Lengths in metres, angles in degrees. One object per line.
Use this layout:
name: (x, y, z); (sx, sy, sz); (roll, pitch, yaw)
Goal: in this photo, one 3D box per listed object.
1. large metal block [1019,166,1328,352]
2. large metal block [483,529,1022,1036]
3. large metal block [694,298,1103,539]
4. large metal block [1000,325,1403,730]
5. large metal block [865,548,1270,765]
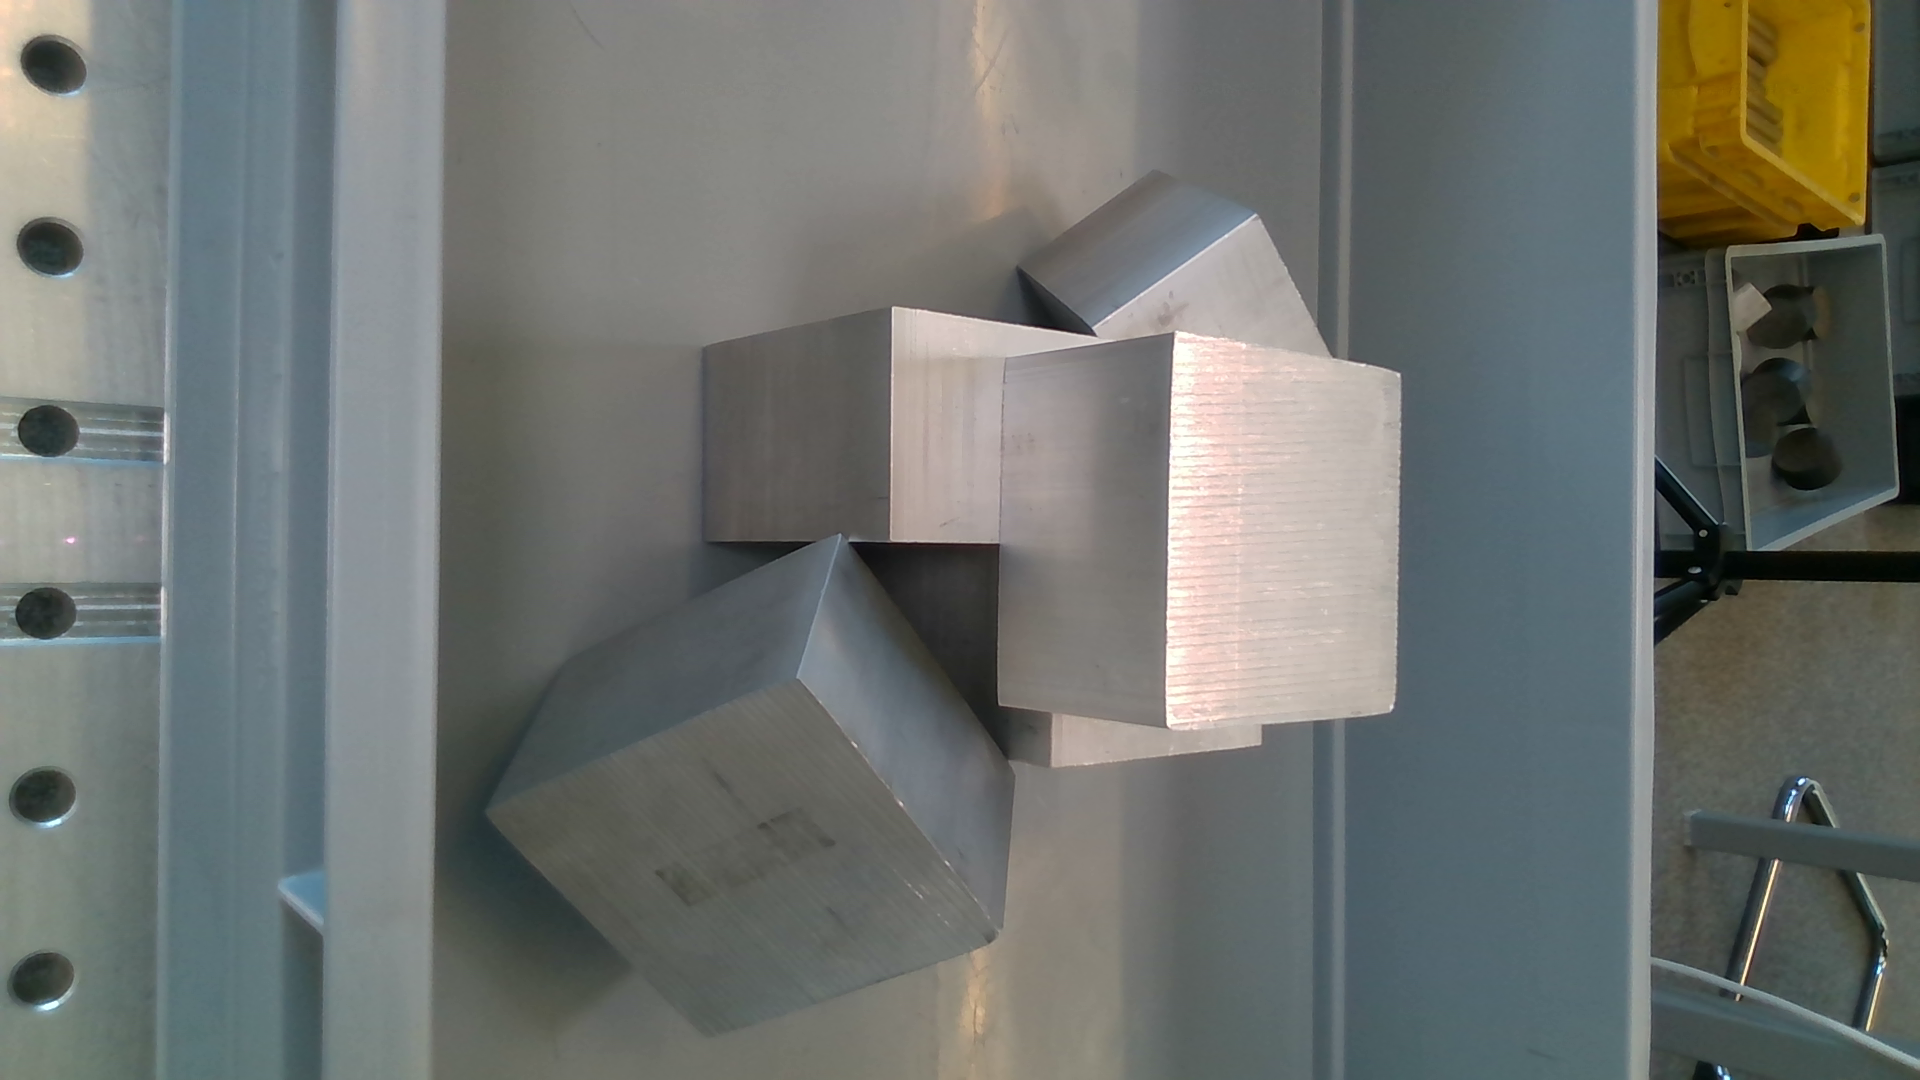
large metal block: (0.067, -0.055, 0.401); (0.050, 0.080, 0.080); (-34, 116, 3)
large metal block: (-0.042, 0.056, 0.309); (0.080, 0.080, 0.050); (56, 23, -25)
large metal block: (-0.011, -0.025, 0.345); (0.080, 0.080, 0.050); (1, 89, -41)
large metal block: (0.056, -0.001, 0.316); (0.080, 0.050, 0.080); (2, 89, -40)
large metal block: (0.028, 0.028, 0.376); (0.080, 0.080, 0.050); (1, 89, -41)
